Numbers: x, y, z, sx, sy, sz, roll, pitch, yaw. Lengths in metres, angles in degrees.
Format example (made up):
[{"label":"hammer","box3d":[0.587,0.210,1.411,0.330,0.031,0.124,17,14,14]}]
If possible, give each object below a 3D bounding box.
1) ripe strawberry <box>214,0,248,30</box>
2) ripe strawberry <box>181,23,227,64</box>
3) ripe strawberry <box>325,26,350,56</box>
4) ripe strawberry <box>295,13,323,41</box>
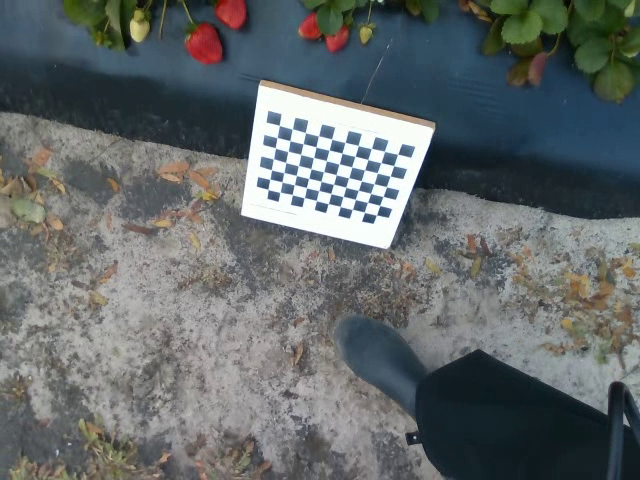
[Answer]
[{"label":"ripe strawberry","box3d":[-0.136,-0.350,0.950,0.051,0.060,0.050,-9,-23,-41]},{"label":"ripe strawberry","box3d":[-0.180,-0.303,0.968,0.058,0.065,0.044,-35,12,41]},{"label":"ripe strawberry","box3d":[0.024,-0.308,0.942,0.043,0.049,0.041,10,-18,3]},{"label":"ripe strawberry","box3d":[-0.015,-0.328,0.948,0.053,0.047,0.039,-26,47,-9]}]
